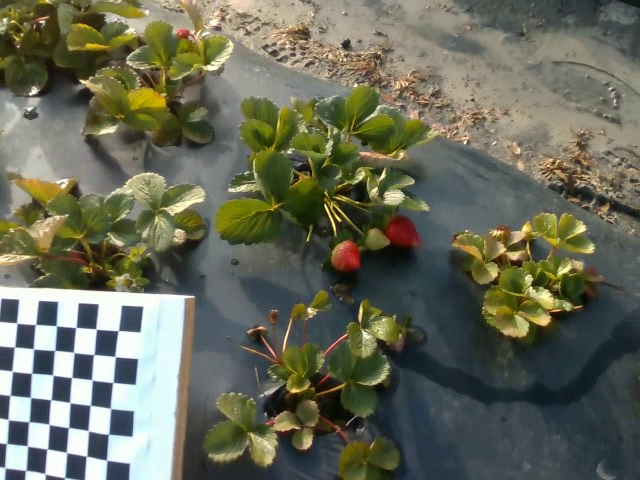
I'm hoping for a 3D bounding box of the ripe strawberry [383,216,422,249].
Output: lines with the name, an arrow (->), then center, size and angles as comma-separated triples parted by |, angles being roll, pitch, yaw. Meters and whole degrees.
ripe strawberry -> 0.119, -0.008, 0.832 | 0.065, 0.049, 0.050 | 45, 11, 18
